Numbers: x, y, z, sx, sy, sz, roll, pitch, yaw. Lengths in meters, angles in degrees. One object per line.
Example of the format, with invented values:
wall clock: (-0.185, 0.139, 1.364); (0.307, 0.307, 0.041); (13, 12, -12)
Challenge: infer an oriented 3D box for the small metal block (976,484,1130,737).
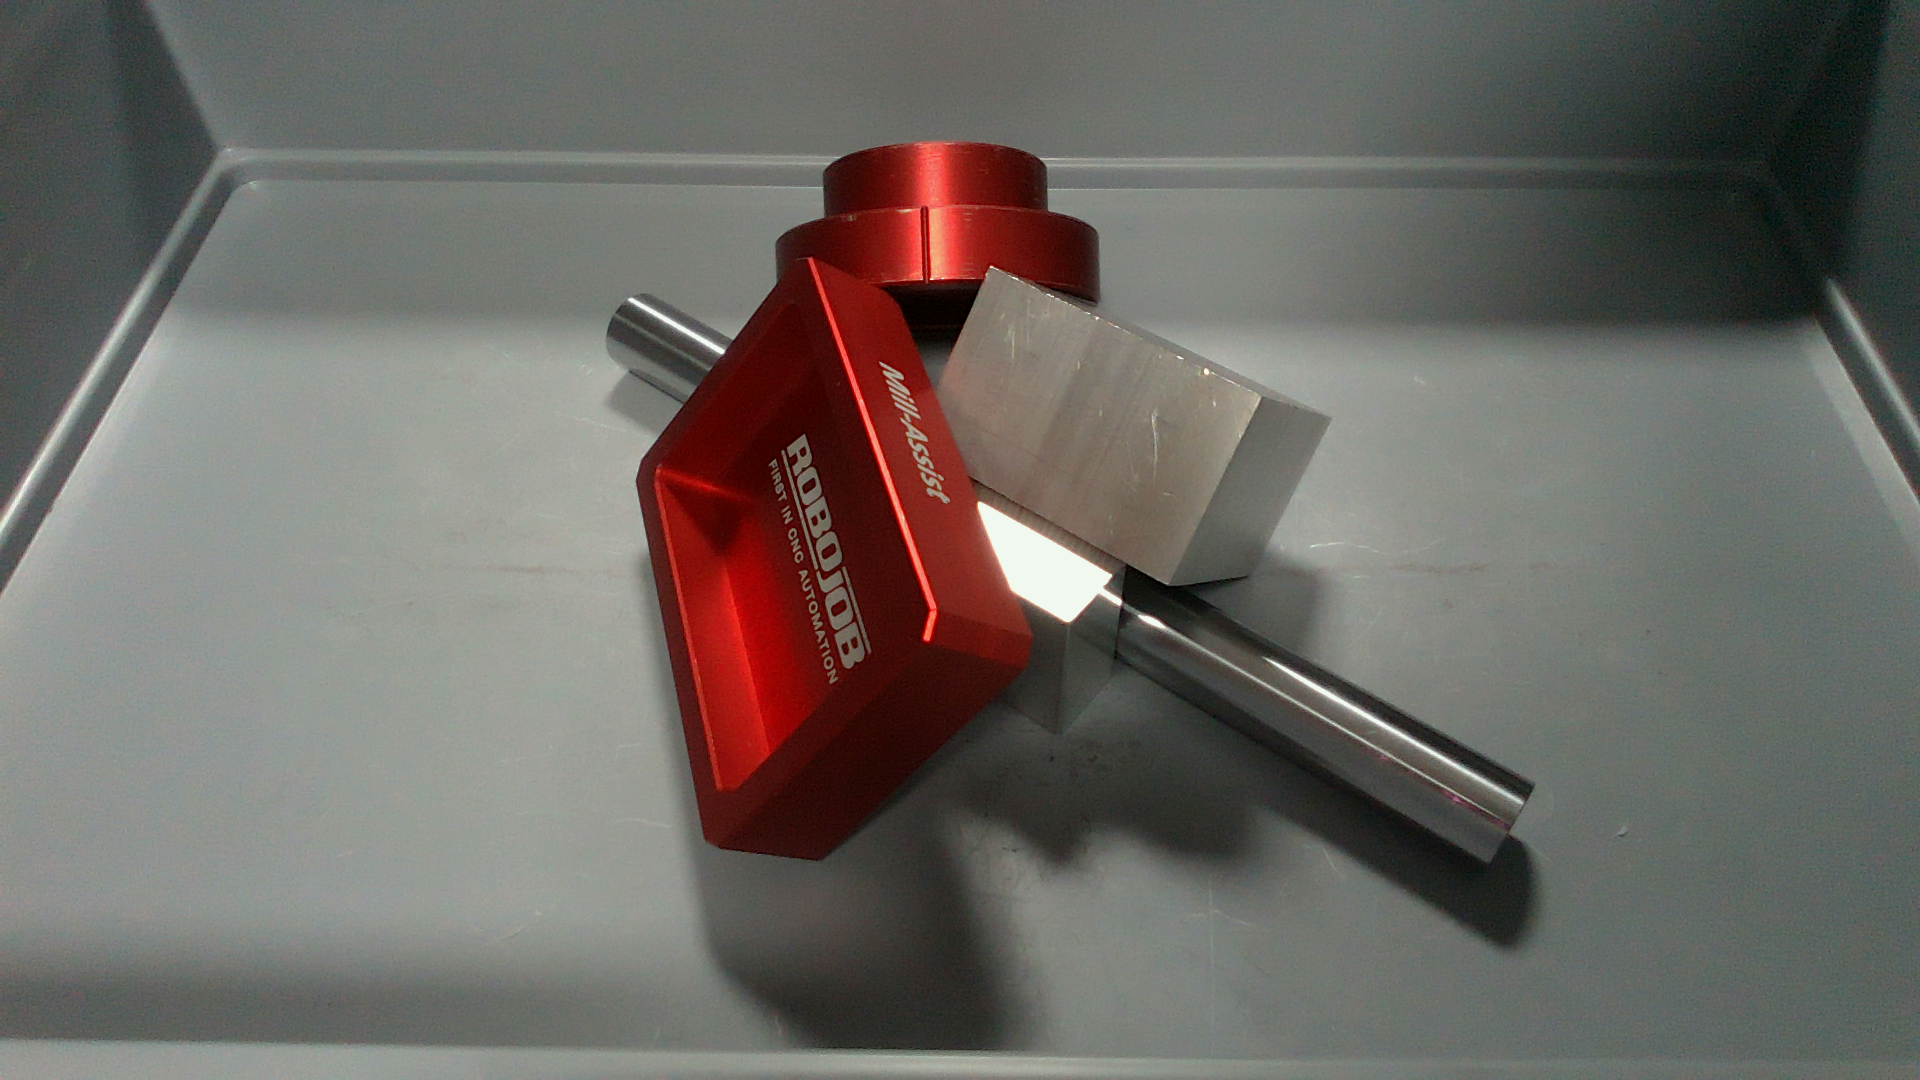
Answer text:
small metal block: (0.015, 0.016, 0.359); (0.050, 0.050, 0.025); (31, 57, 24)

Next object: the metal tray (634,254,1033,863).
metal tray: (-0.039, 0.002, 0.348); (0.030, 0.090, 0.130); (19, 37, -39)

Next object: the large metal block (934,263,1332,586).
large metal block: (0.046, -0.030, 0.373); (0.080, 0.050, 0.080); (30, 13, 23)

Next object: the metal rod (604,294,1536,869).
metal rod: (0.013, 0.000, 0.390); (0.299, 0.025, 0.025); (30, 56, 23)

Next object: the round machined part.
round machined part: (-0.007, -0.091, 0.417); (0.098, 0.098, 0.042); (-1, 90, -1)
